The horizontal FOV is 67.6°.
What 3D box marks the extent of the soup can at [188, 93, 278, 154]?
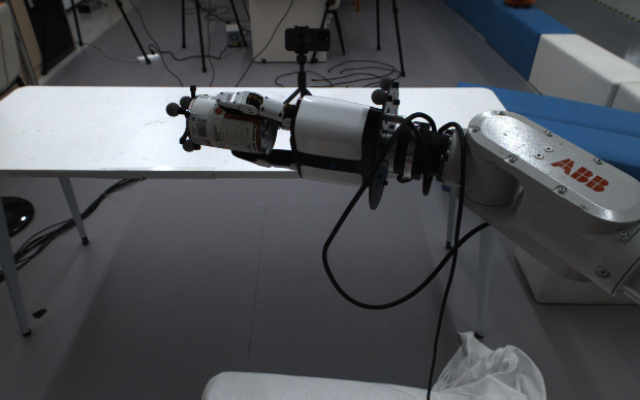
[{"bbox_3d":[-0.112,-0.099,0.633,0.101,0.067,0.067,10,35,10],"label":"soup can"}]
